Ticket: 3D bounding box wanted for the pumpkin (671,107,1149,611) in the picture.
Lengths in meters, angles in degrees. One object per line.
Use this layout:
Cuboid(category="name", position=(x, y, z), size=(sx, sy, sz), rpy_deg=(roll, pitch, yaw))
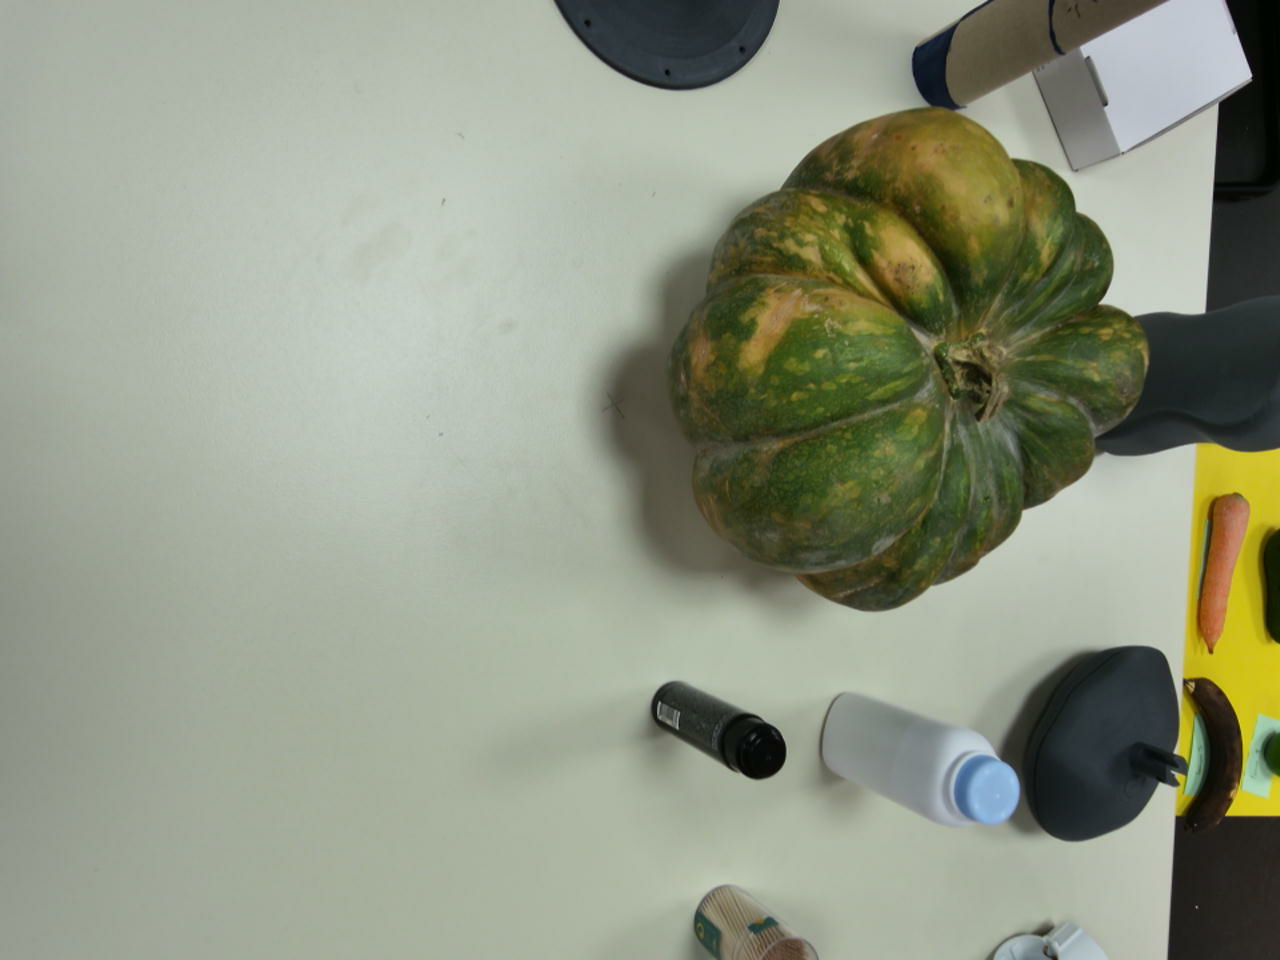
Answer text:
Cuboid(category="pumpkin", position=(0.141, -0.059, 0.536), size=(0.237, 0.173, 0.270), rpy_deg=(44, 75, -17))
